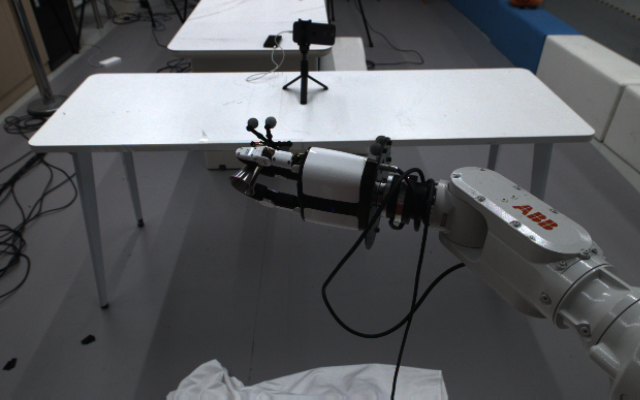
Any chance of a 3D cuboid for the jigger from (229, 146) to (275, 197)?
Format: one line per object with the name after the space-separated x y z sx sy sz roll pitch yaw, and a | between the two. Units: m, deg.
-0.100 -0.050 0.713 0.043 0.043 0.071 19 61 23 | jigger
